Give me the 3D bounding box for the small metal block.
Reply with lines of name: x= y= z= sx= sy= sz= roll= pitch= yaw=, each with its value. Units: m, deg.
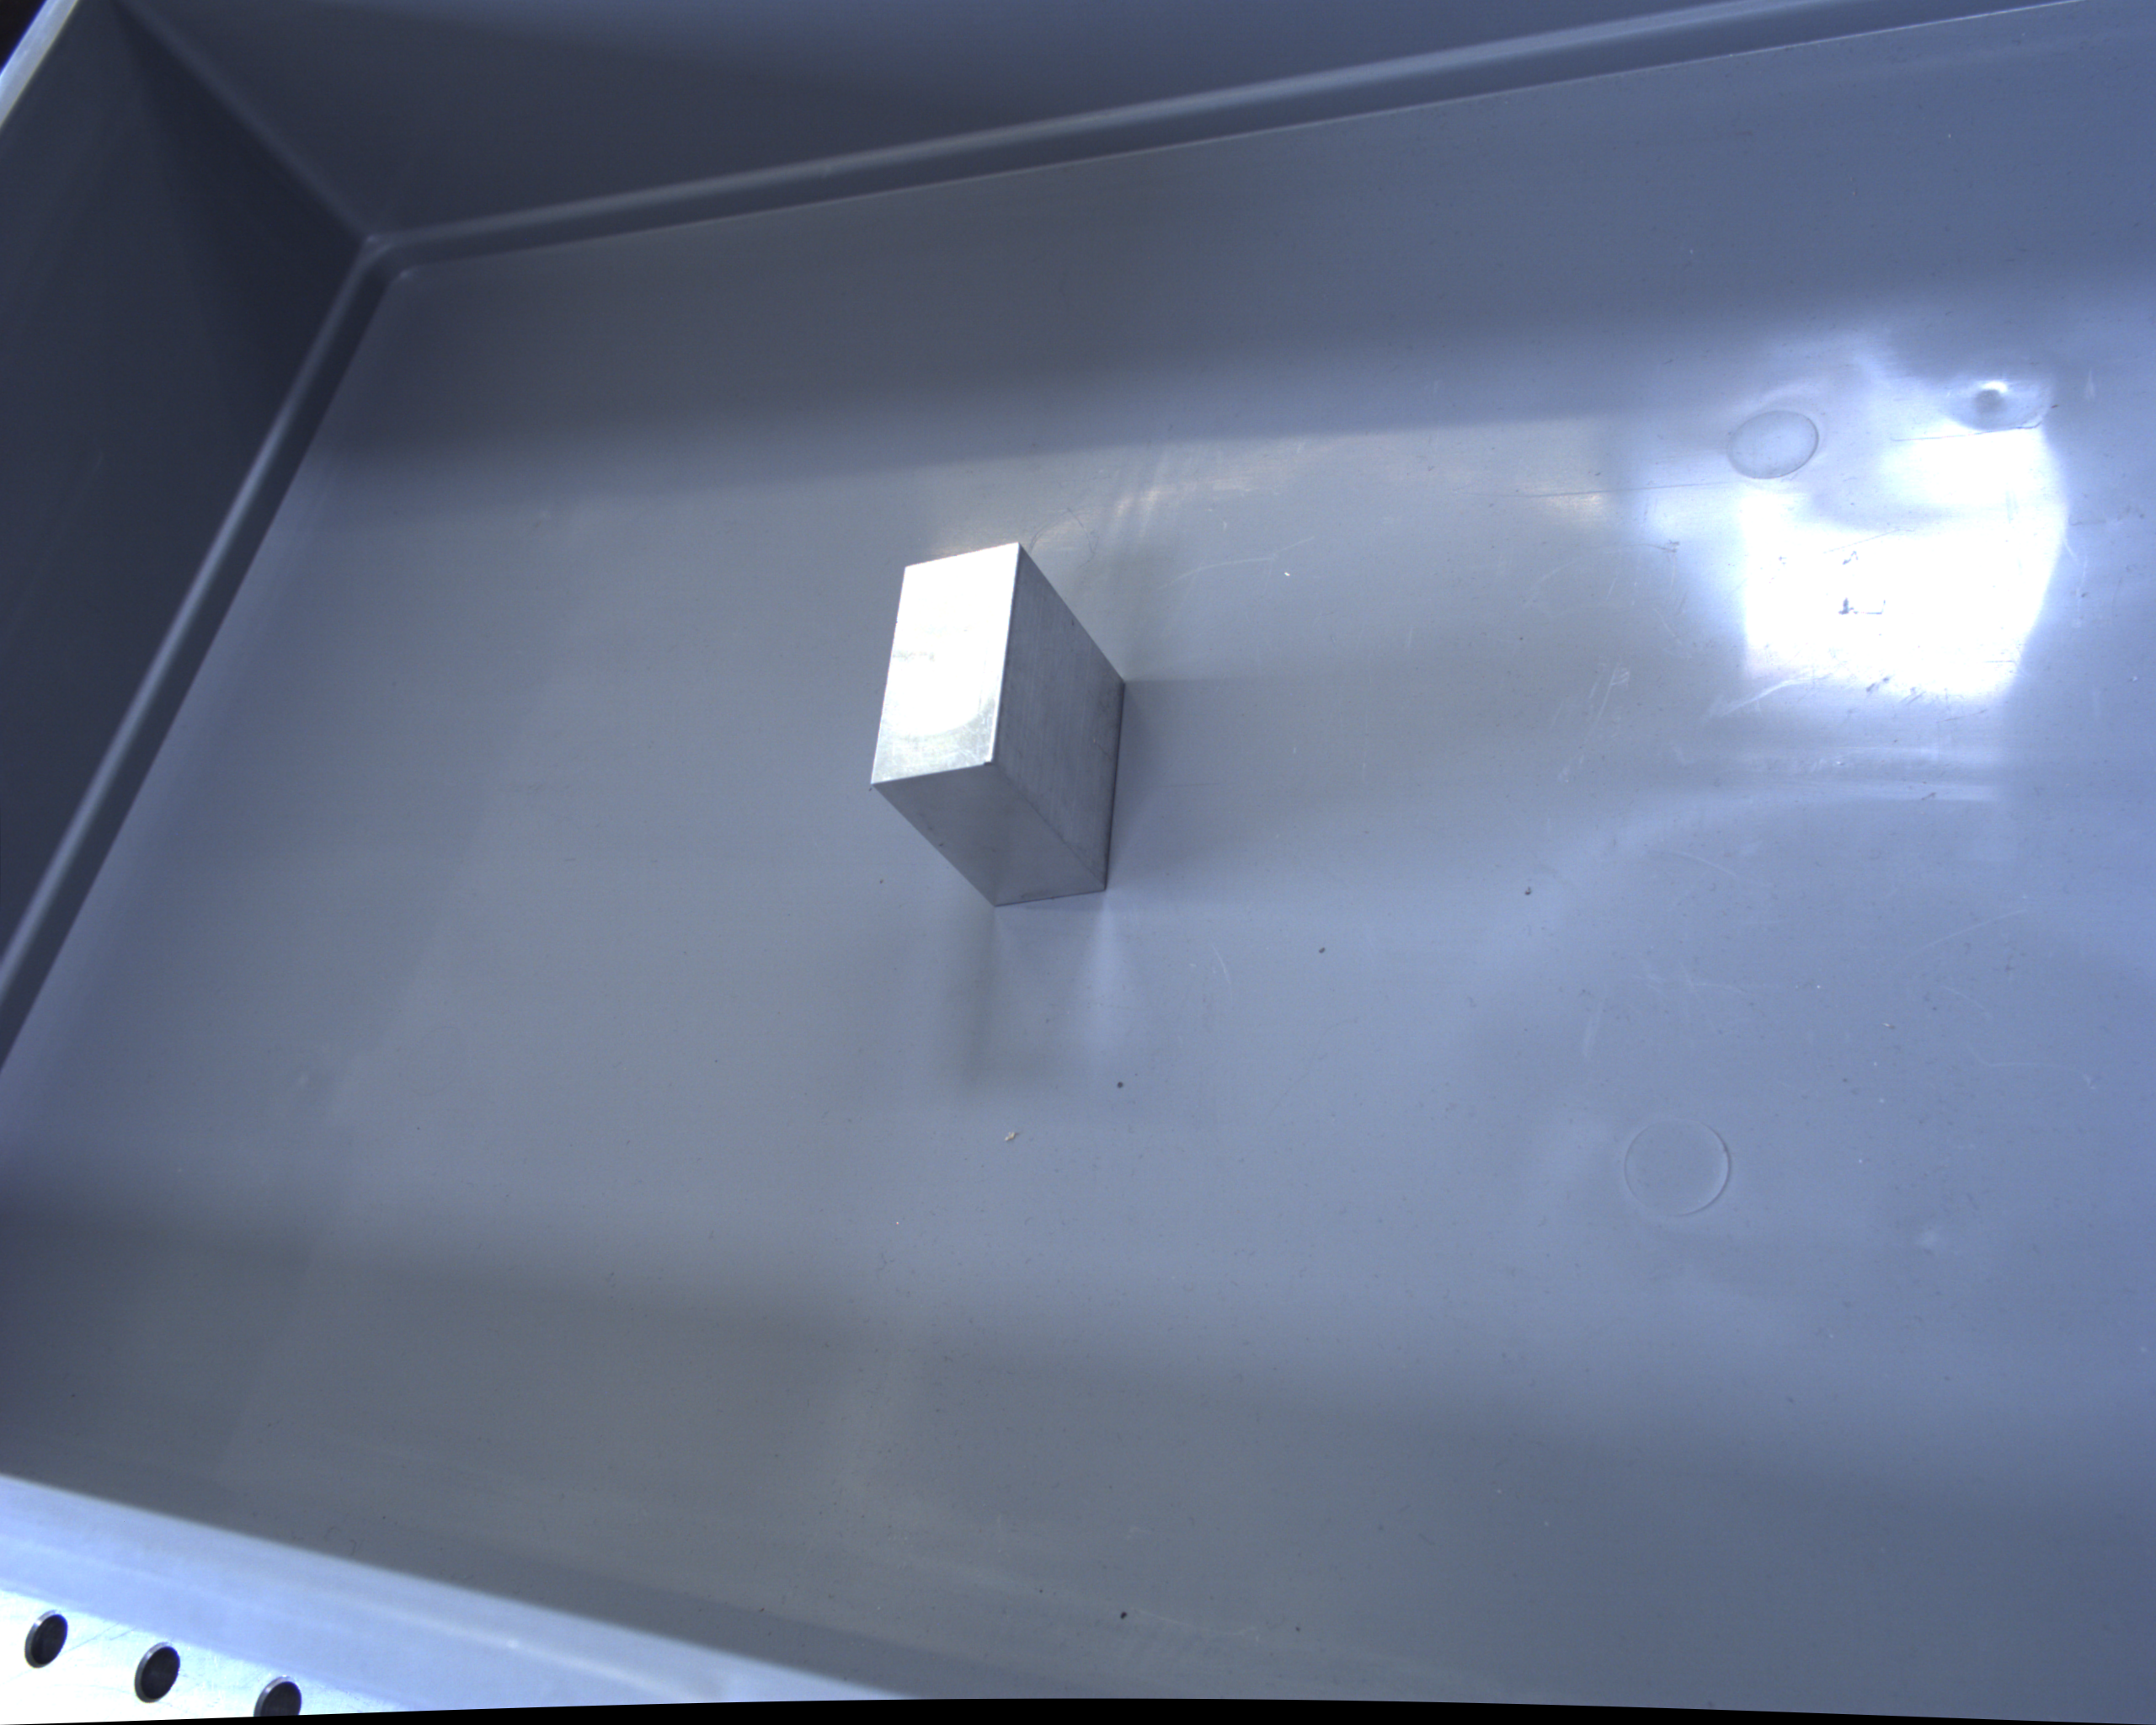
small metal block: x=-0.014 y=-0.026 z=0.410 sx=0.025 sy=0.050 sz=0.050 roll=-9 pitch=57 yaw=24
